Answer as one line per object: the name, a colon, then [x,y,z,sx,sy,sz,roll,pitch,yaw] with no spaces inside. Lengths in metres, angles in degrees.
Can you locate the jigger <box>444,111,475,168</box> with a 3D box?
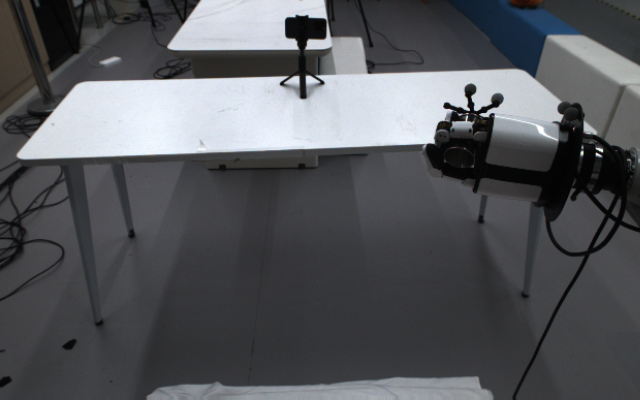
jigger: [0.204,-0.088,0.682,0.043,0.043,0.071,16,58,19]
